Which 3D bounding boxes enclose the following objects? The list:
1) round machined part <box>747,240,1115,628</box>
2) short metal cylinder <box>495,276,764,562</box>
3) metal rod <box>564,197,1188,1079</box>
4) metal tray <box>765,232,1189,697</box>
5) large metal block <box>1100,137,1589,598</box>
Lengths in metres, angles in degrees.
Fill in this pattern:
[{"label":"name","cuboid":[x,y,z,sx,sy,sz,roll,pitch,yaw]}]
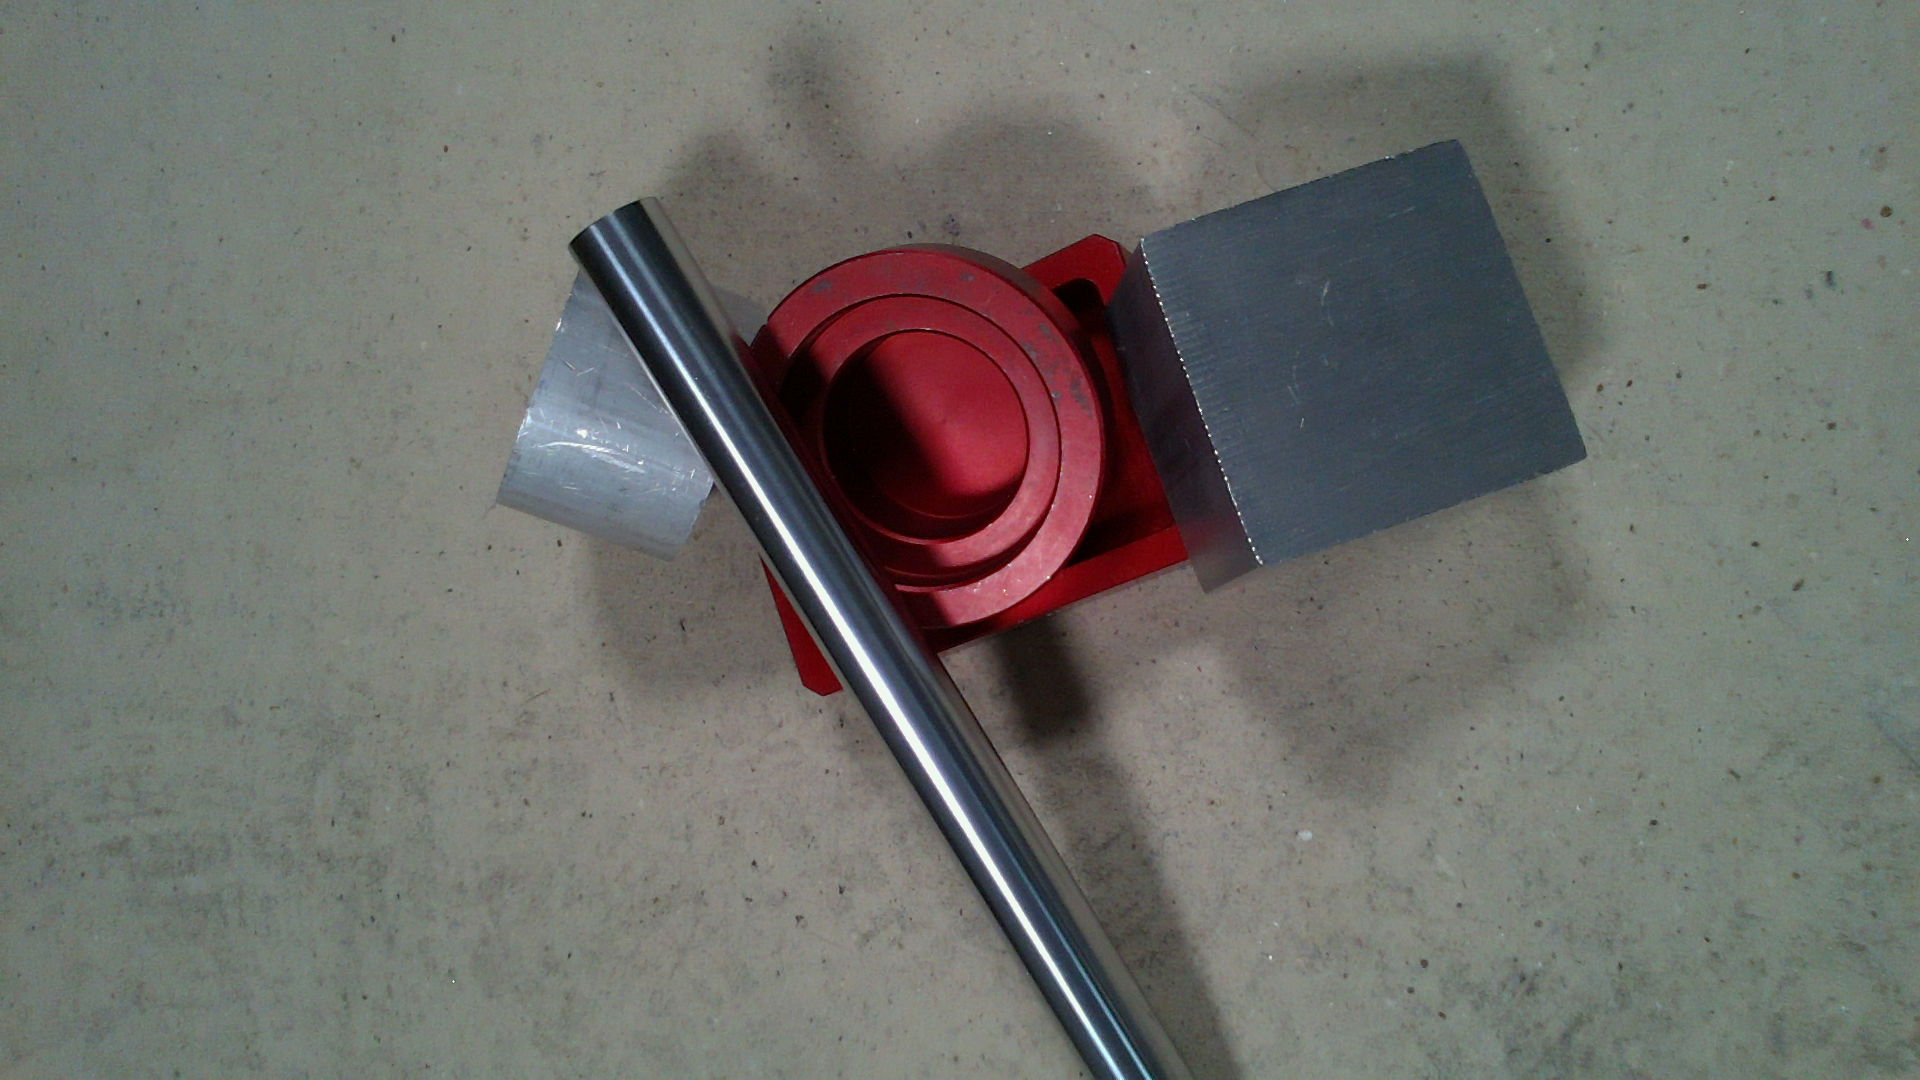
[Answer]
[{"label":"round machined part","cuboid":[-0.007,-0.030,0.364,0.098,0.042,0.098,4,106,14]},{"label":"short metal cylinder","cuboid":[-0.094,-0.039,0.394,0.050,0.080,0.080,20,98,-17]},{"label":"metal rod","cuboid":[-0.008,0.051,0.353,0.025,0.025,0.300,-29,98,18]},{"label":"metal tray","cuboid":[0.003,-0.019,0.392,0.130,0.030,0.090,-22,83,19]},{"label":"large metal block","cuboid":[0.089,-0.039,0.333,0.080,0.050,0.080,-18,83,-7]}]
